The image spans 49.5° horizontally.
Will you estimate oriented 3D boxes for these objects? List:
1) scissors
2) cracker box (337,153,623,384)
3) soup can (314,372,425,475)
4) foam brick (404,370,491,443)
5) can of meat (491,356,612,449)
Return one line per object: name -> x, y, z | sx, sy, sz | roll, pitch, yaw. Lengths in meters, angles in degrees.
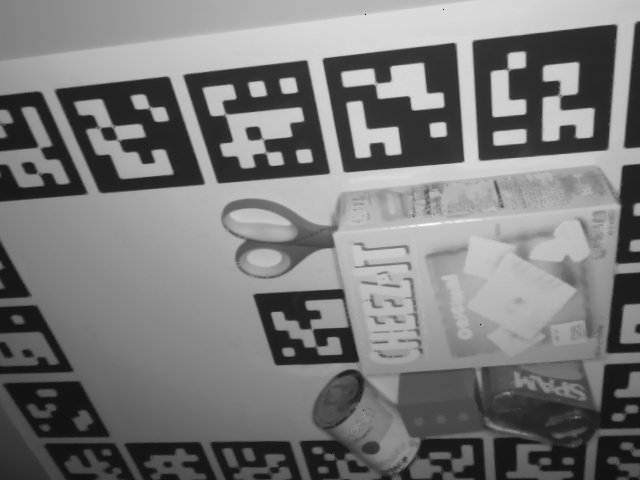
scissors -> 0.022, -0.006, 0.620 | 0.201, 0.016, 0.087 | -9, 120, 13
cracker box -> 0.137, 0.031, 0.590 | 0.212, 0.072, 0.163 | -11, 121, 10
soup can -> 0.054, 0.195, 0.735 | 0.102, 0.068, 0.067 | 38, 120, -21
foam brick -> 0.129, 0.166, 0.707 | 0.077, 0.052, 0.052 | -14, 118, 17
can of meat -> 0.214, 0.142, 0.657 | 0.102, 0.084, 0.057 | 8, 122, 4
